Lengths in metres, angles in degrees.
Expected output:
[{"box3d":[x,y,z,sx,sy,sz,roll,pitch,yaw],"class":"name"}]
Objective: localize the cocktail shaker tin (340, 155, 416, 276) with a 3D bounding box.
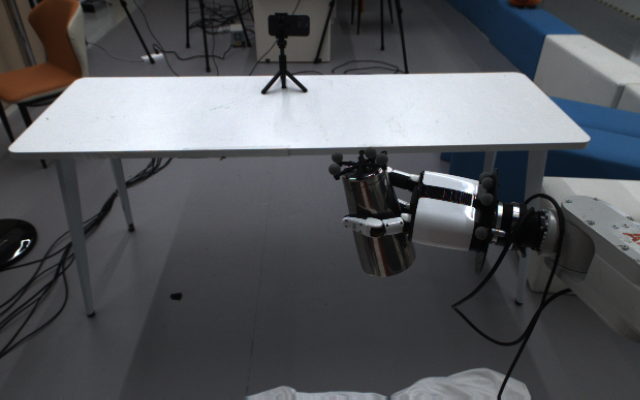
[{"box3d":[0.087,0.024,0.751,0.093,0.170,0.093,-15,29,8],"class":"cocktail shaker tin"}]
